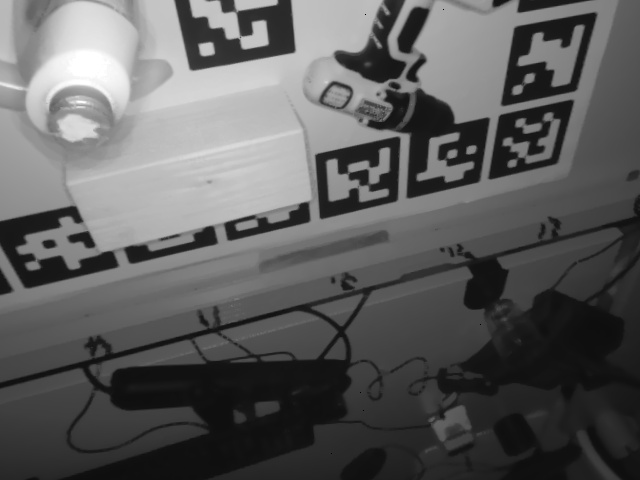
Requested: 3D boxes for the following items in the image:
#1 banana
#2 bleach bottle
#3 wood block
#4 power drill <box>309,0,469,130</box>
[{"bbox_3d":[-0.202,-0.139,0.596,0.199,0.039,0.073,1,118,-20],"label":"banana"},{"bbox_3d":[-0.144,-0.149,0.460,0.069,0.251,0.101,11,129,-31],"label":"bleach bottle"},{"bbox_3d":[-0.115,-0.079,0.659,0.208,0.091,0.089,-13,135,-10],"label":"wood block"},{"bbox_3d":[0.104,-0.198,0.662,0.187,0.057,0.184,13,128,-28],"label":"power drill"}]
